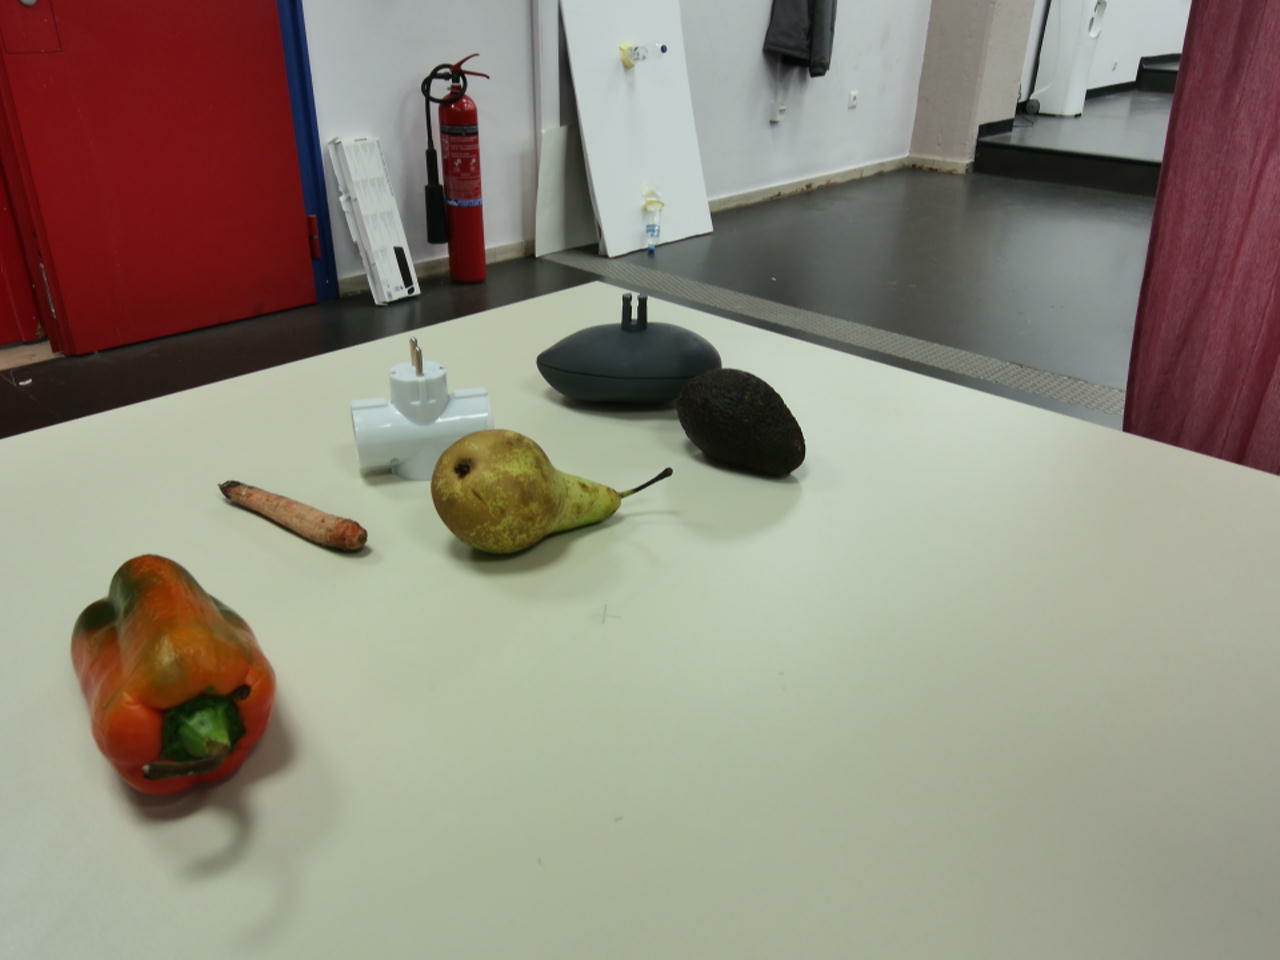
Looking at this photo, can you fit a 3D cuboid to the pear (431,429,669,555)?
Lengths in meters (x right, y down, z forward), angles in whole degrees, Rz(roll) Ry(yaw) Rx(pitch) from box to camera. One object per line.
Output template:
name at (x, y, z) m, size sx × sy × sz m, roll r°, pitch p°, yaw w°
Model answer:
pear at (-0.057, -0.002, 0.606) m, size 0.144 × 0.075 × 0.072 m, roll -21°, pitch 32°, yaw -36°
